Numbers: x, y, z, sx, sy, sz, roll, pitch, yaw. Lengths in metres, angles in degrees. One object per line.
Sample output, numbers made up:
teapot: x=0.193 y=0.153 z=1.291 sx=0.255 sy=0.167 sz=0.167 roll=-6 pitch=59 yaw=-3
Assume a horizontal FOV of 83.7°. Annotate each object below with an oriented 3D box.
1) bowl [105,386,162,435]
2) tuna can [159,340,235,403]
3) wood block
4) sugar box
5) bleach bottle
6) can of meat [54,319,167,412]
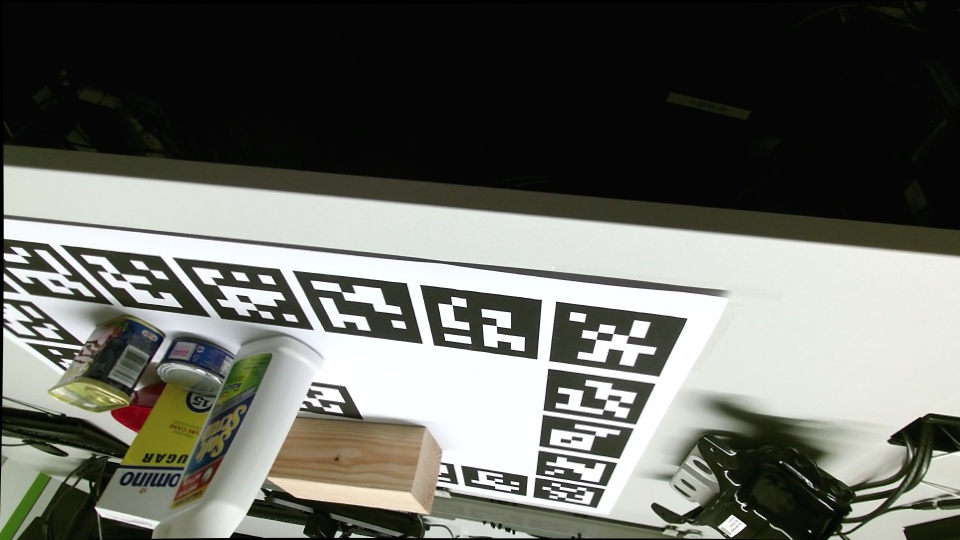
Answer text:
bowl: x=-0.420 y=0.206 z=0.745 sx=0.162 sy=0.055 sz=0.162 roll=4 pitch=141 yaw=4
tuna can: x=-0.324 y=0.119 z=0.625 sx=0.086 sy=0.033 sz=0.086 roll=6 pitch=138 yaw=6
wood block: x=-0.165 y=0.271 z=0.737 sx=0.207 sy=0.089 sz=0.091 roll=0 pitch=136 yaw=16
sugar box: x=-0.355 y=0.210 z=0.632 sx=0.093 sy=0.175 sz=0.045 roll=16 pitch=139 yaw=-11
bleach bottle: x=-0.243 y=0.193 z=0.528 sx=0.103 sy=0.249 sz=0.068 roll=-13 pitch=136 yaw=27
can of meat: x=-0.413 y=0.108 z=0.605 sx=0.102 sy=0.083 sz=0.058 roll=-15 pitch=137 yaw=32
